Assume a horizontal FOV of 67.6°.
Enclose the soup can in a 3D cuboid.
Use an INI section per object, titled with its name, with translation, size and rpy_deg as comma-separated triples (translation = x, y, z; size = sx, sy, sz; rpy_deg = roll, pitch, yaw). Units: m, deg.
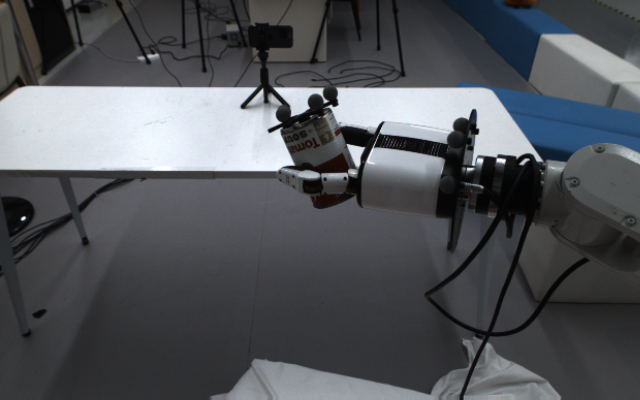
[soup can]
translation = 0.004, -0.050, 0.579
size = 0.067, 0.101, 0.067
rpy_deg = -23, 16, 7
